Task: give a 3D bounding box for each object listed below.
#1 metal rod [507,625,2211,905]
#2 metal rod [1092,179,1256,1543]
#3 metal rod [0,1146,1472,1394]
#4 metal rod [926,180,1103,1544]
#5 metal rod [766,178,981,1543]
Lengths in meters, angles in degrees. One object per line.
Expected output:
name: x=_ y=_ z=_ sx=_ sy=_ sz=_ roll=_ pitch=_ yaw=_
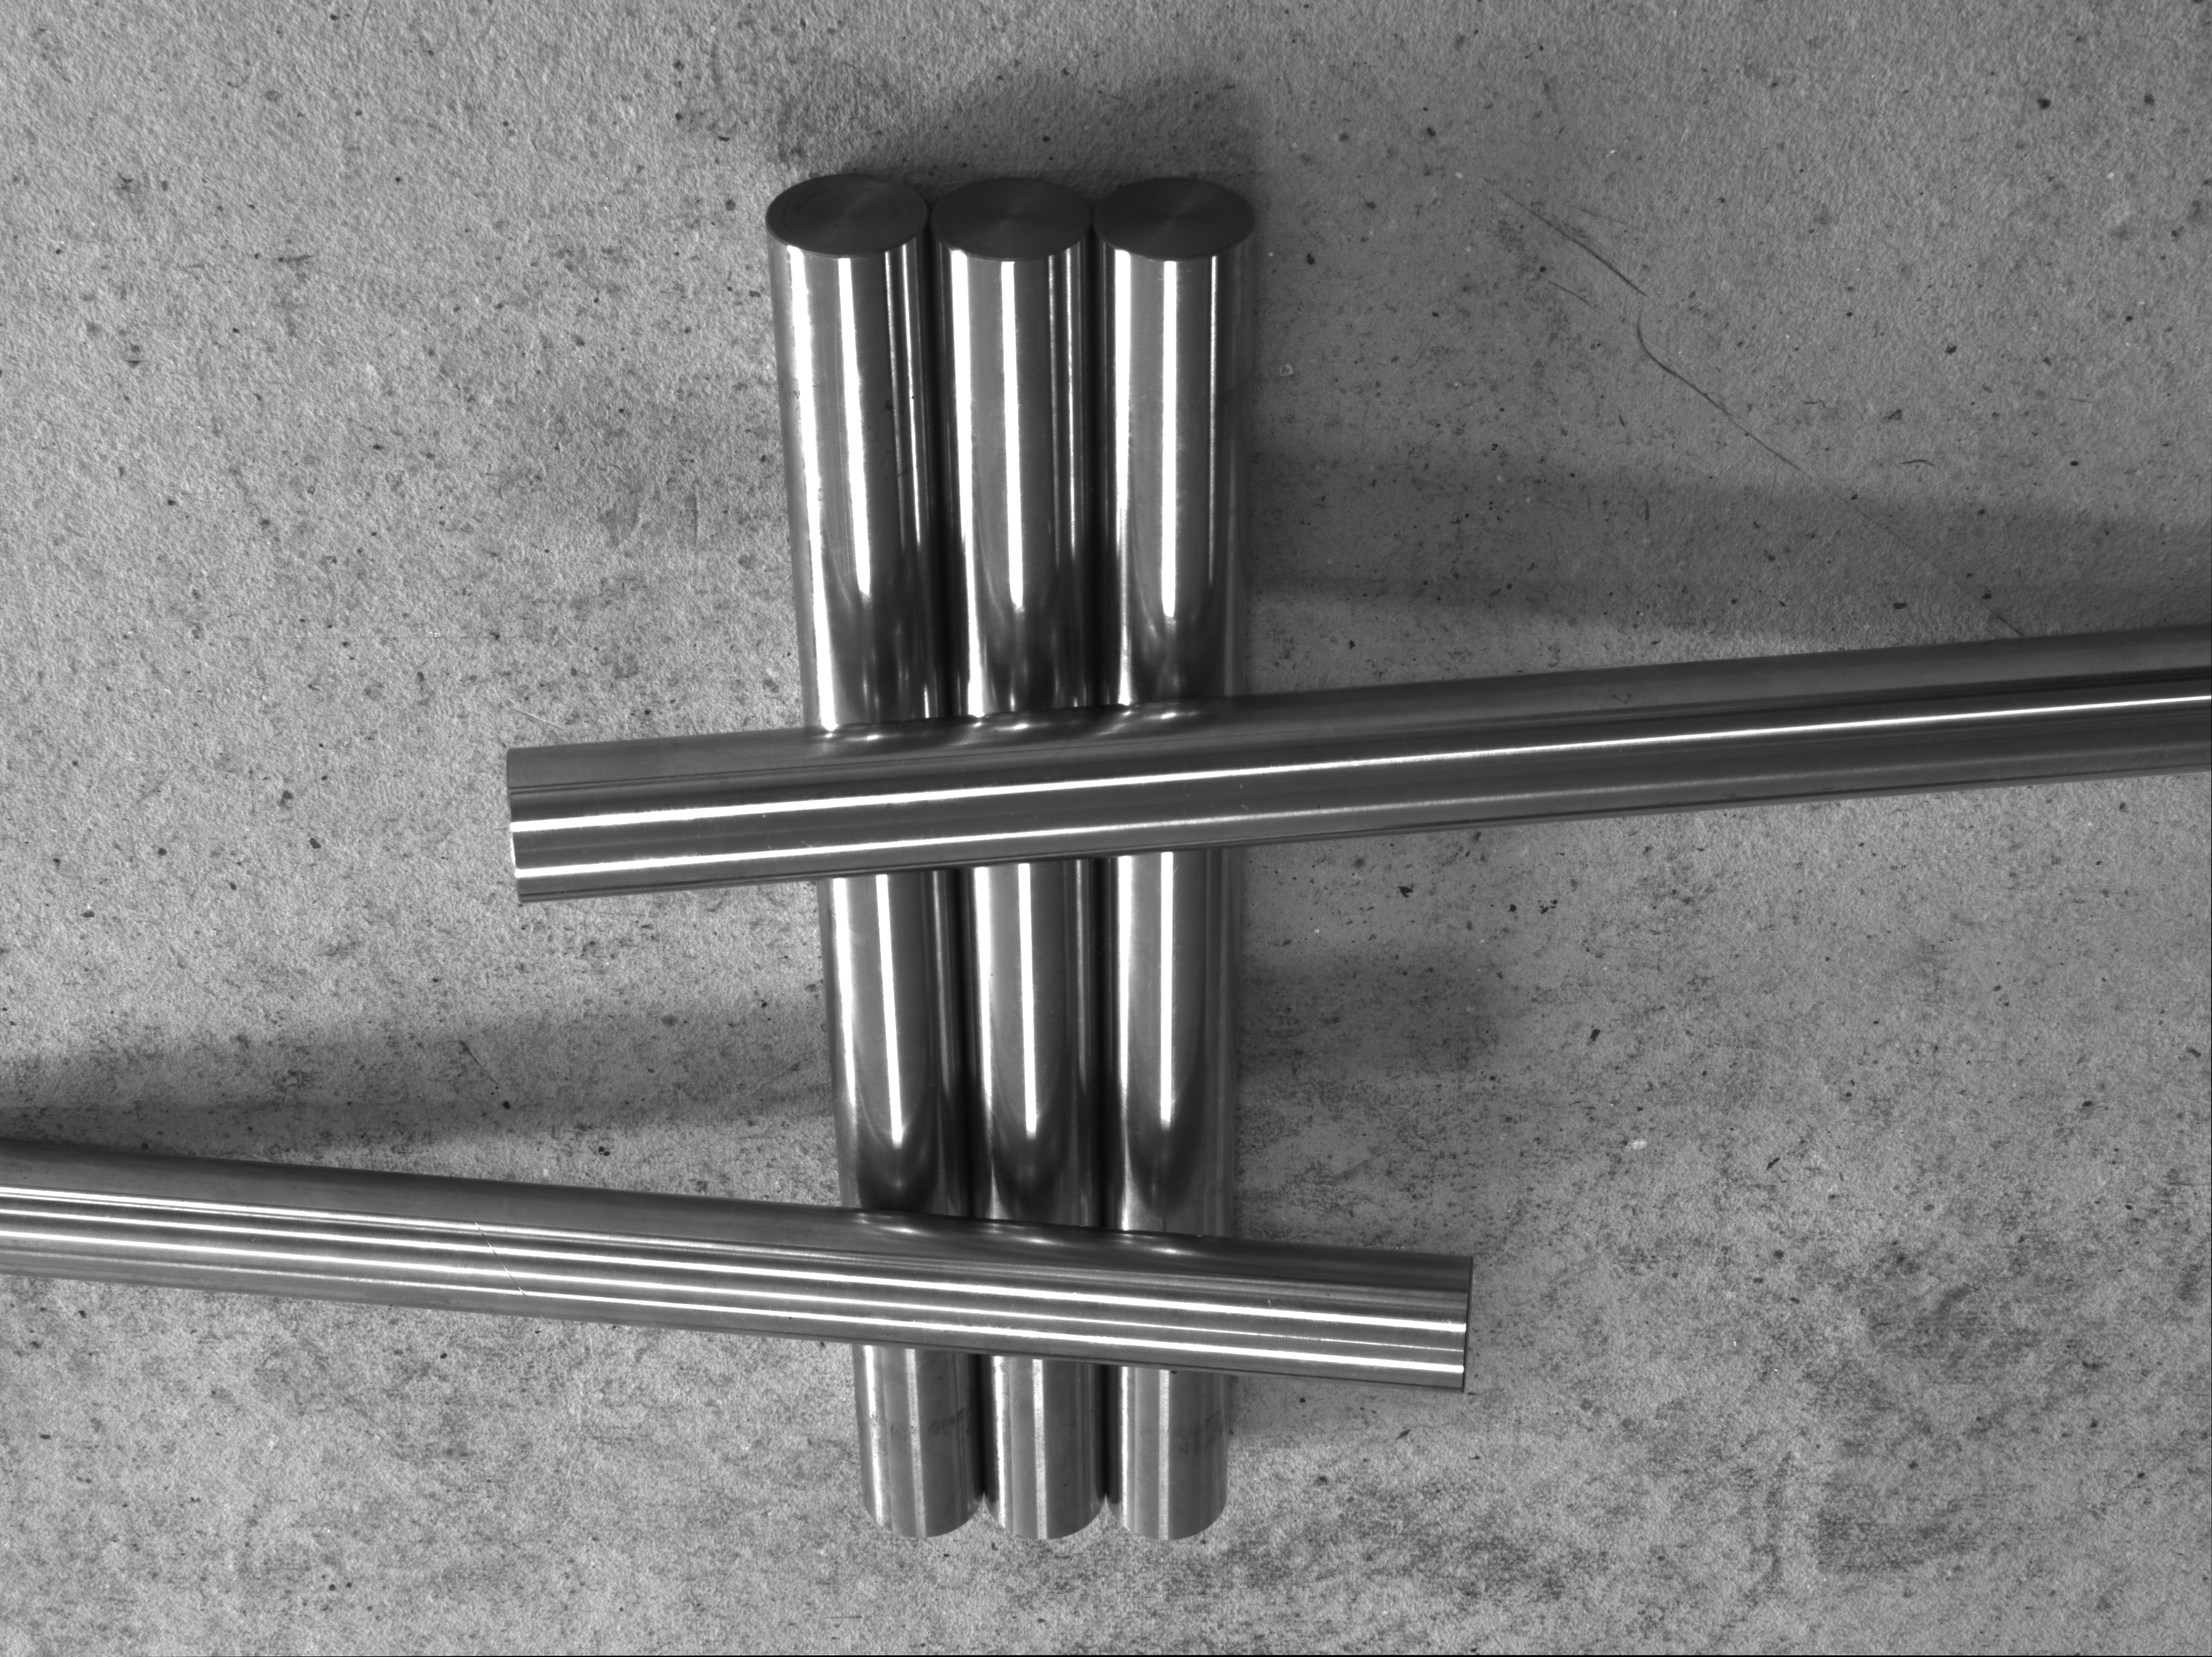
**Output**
metal rod: x=0.054 y=-0.012 z=0.604 sx=0.300 sy=0.025 sz=0.025 roll=-4 pitch=130 yaw=-6
metal rod: x=0.011 y=0.022 z=0.657 sx=0.025 sy=0.025 sz=0.300 roll=0 pitch=130 yaw=0
metal rod: x=-0.083 y=0.081 z=0.681 sx=0.300 sy=0.025 sz=0.025 roll=4 pitch=130 yaw=6
metal rod: x=-0.014 y=0.022 z=0.657 sx=0.025 sy=0.025 sz=0.300 roll=0 pitch=130 yaw=0
metal rod: x=-0.039 y=0.022 z=0.657 sx=0.025 sy=0.025 sz=0.300 roll=0 pitch=130 yaw=0
